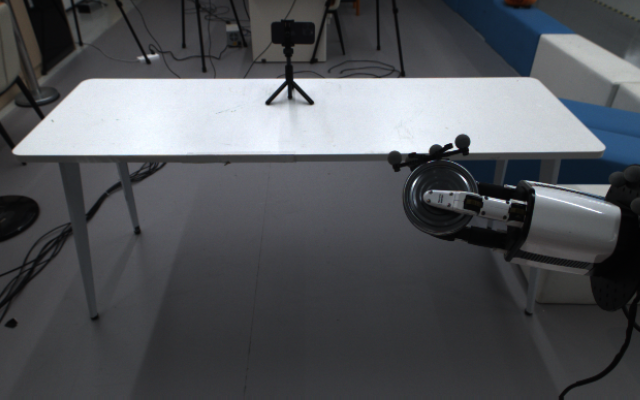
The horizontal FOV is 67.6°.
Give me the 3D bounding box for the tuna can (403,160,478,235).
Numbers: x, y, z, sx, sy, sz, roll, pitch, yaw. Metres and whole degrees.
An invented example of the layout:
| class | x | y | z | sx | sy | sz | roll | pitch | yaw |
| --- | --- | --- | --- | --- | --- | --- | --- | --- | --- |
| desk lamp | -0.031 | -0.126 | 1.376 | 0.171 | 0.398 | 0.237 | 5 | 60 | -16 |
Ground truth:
| class | x | y | z | sx | sy | sz | roll | pitch | yaw |
| --- | --- | --- | --- | --- | --- | --- | --- | --- | --- |
| tuna can | 0.141 | -0.005 | 0.559 | 0.085 | 0.085 | 0.034 | 12 | -6 | 14 |
